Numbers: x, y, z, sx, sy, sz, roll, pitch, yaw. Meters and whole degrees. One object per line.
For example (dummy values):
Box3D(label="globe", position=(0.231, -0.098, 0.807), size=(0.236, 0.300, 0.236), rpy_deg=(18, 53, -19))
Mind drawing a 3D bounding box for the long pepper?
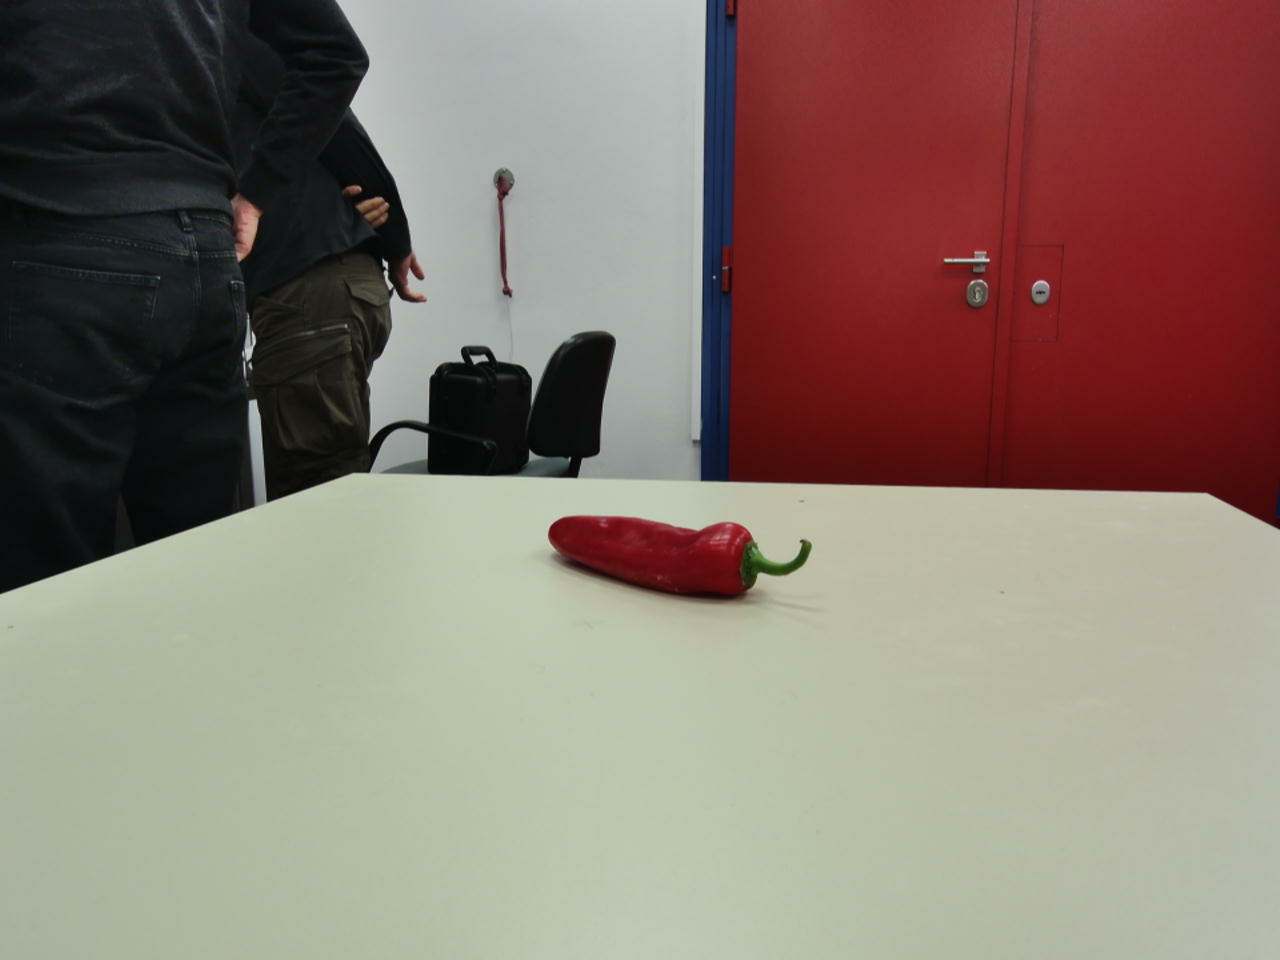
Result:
Box3D(label="long pepper", position=(0.010, 0.042, 0.617), size=(0.211, 0.043, 0.050), rpy_deg=(7, 10, 43))
